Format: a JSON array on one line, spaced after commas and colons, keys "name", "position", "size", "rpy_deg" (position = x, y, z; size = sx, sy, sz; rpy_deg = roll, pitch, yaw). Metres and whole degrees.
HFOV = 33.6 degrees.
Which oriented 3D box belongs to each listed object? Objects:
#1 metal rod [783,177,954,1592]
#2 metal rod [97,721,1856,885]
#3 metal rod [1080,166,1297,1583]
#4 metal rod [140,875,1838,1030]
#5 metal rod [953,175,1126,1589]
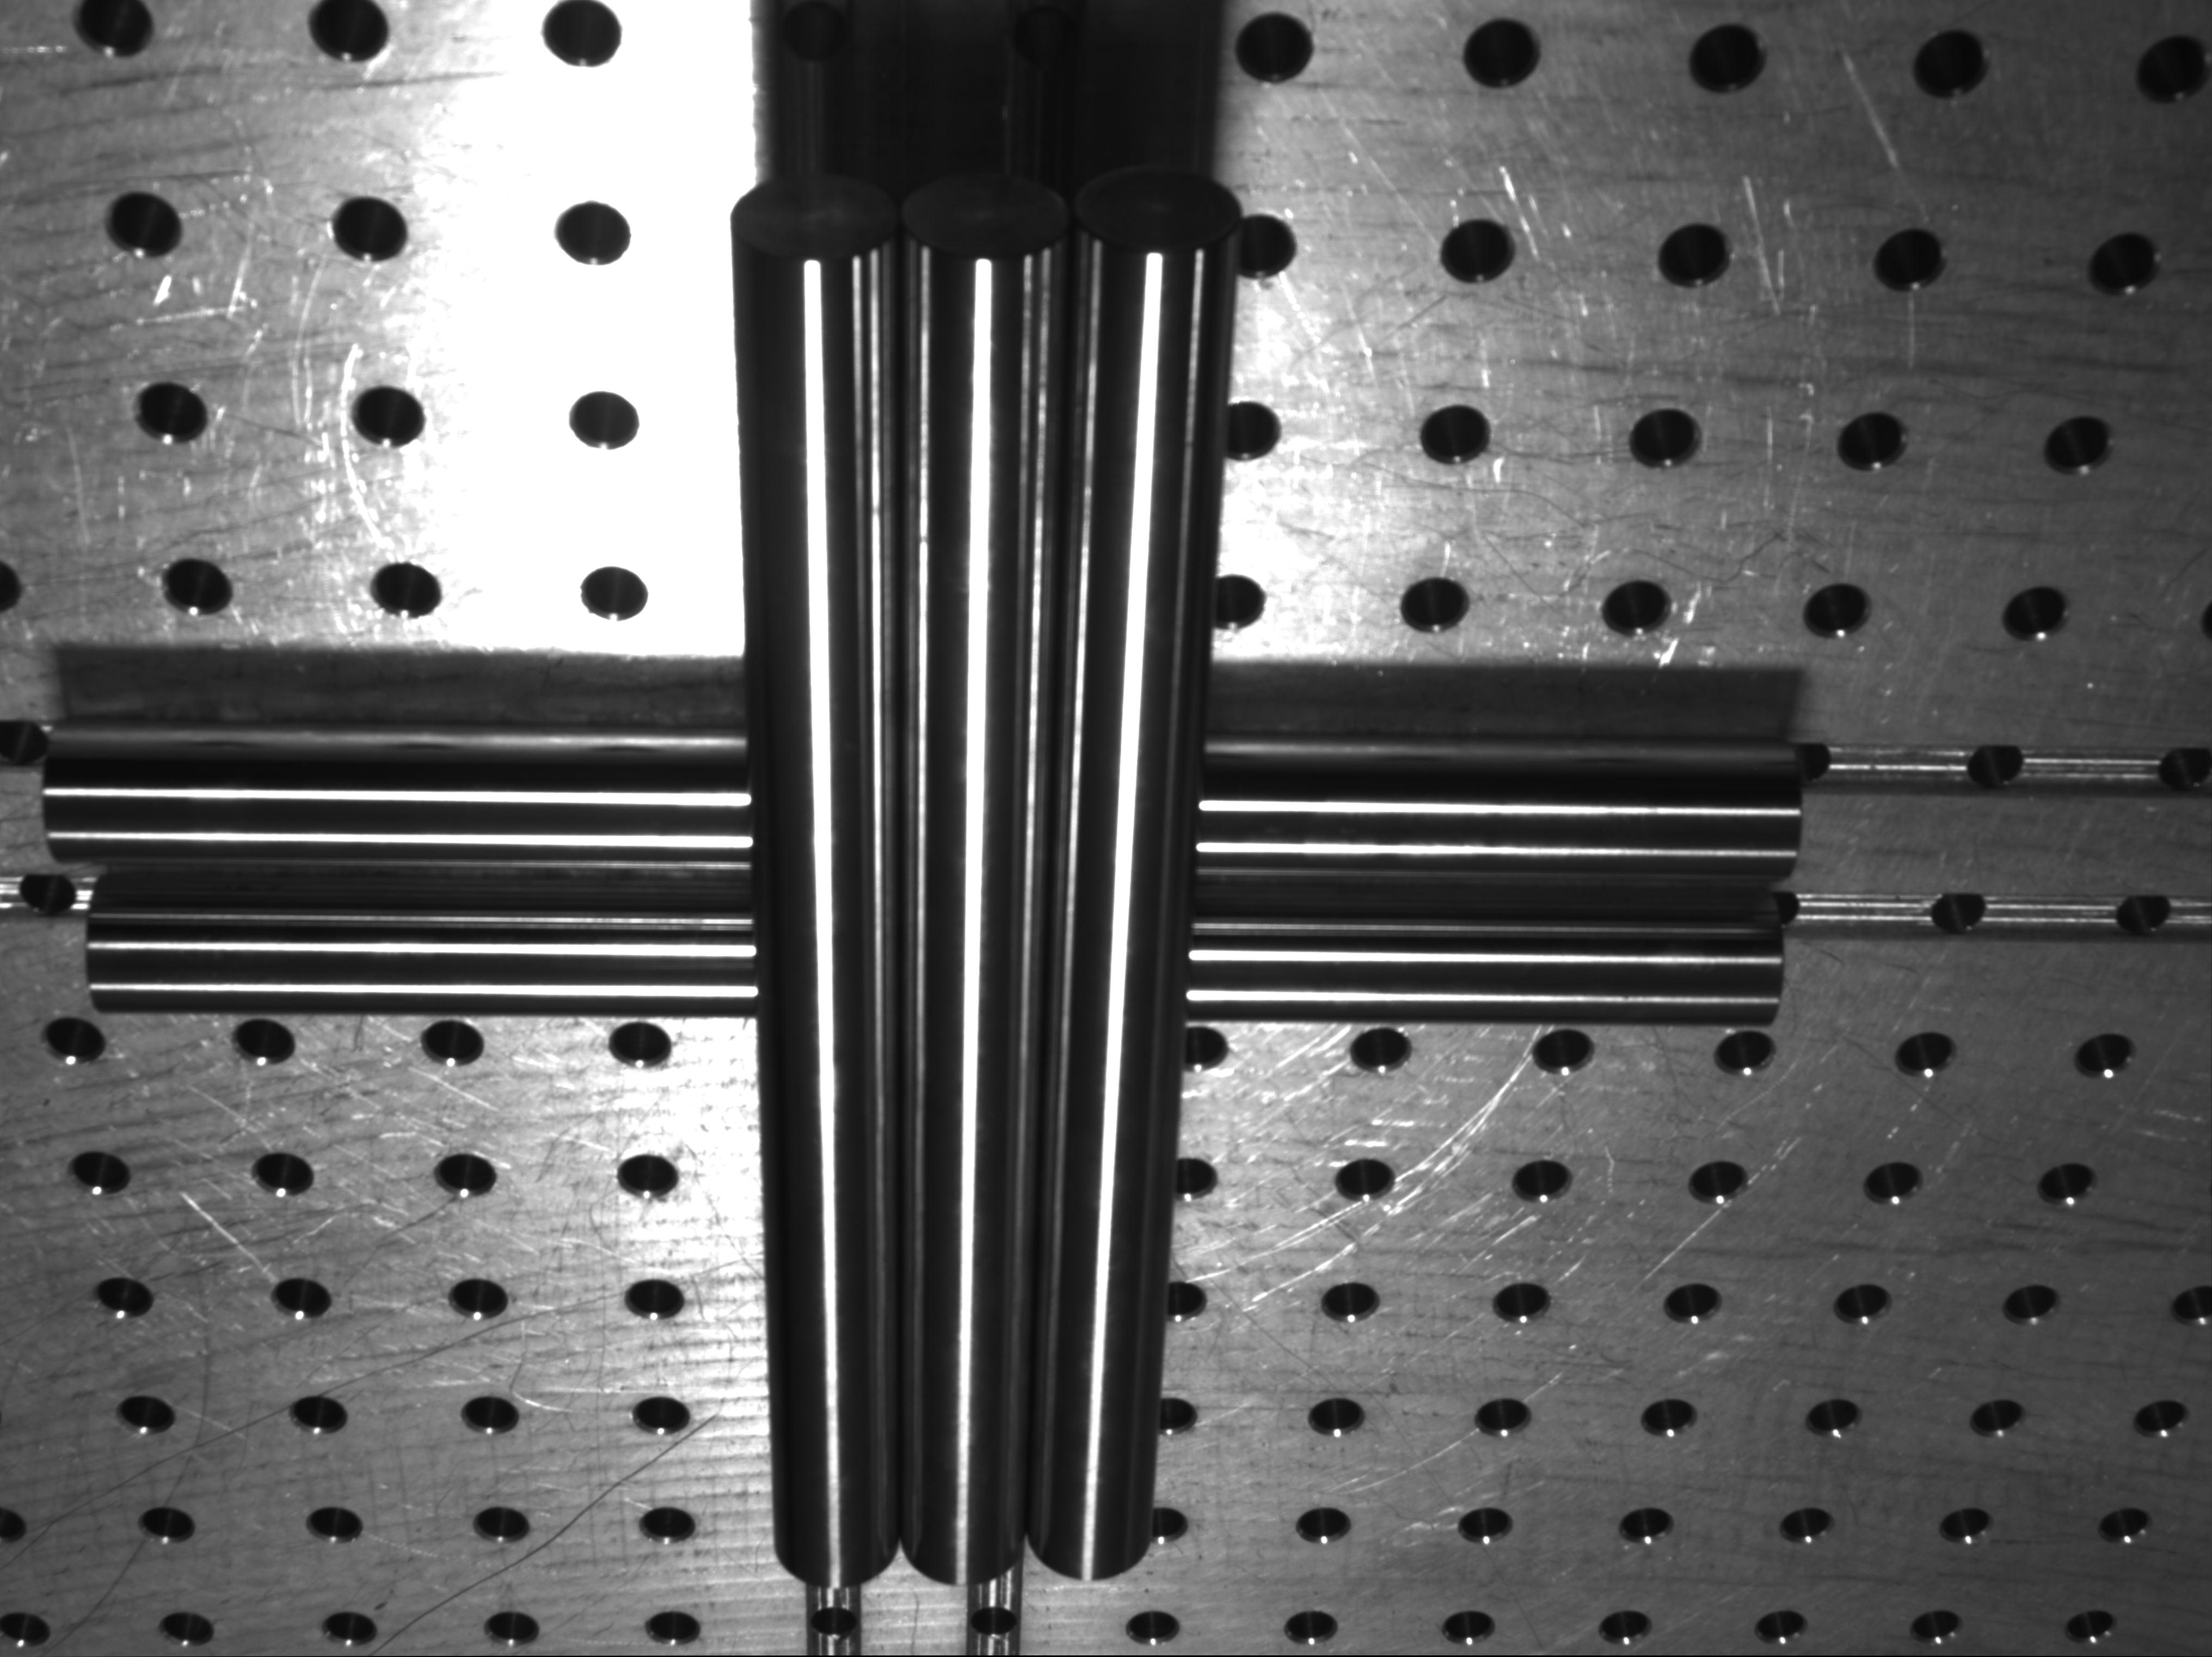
[{"name": "metal rod", "position": [-0.039, 0.026, 0.630], "size": [0.025, 0.025, 0.300], "rpy_deg": [0, 130, -2]}, {"name": "metal rod", "position": [-0.021, -0.004, 0.637], "size": [0.300, 0.025, 0.025], "rpy_deg": [1, 130, -2]}, {"name": "metal rod", "position": [0.011, 0.025, 0.630], "size": [0.025, 0.025, 0.300], "rpy_deg": [0, 130, -2]}, {"name": "metal rod", "position": [-0.020, 0.023, 0.660], "size": [0.300, 0.025, 0.025], "rpy_deg": [1, 130, -2]}, {"name": "metal rod", "position": [-0.014, 0.026, 0.631], "size": [0.025, 0.025, 0.300], "rpy_deg": [0, 130, -2]}]
